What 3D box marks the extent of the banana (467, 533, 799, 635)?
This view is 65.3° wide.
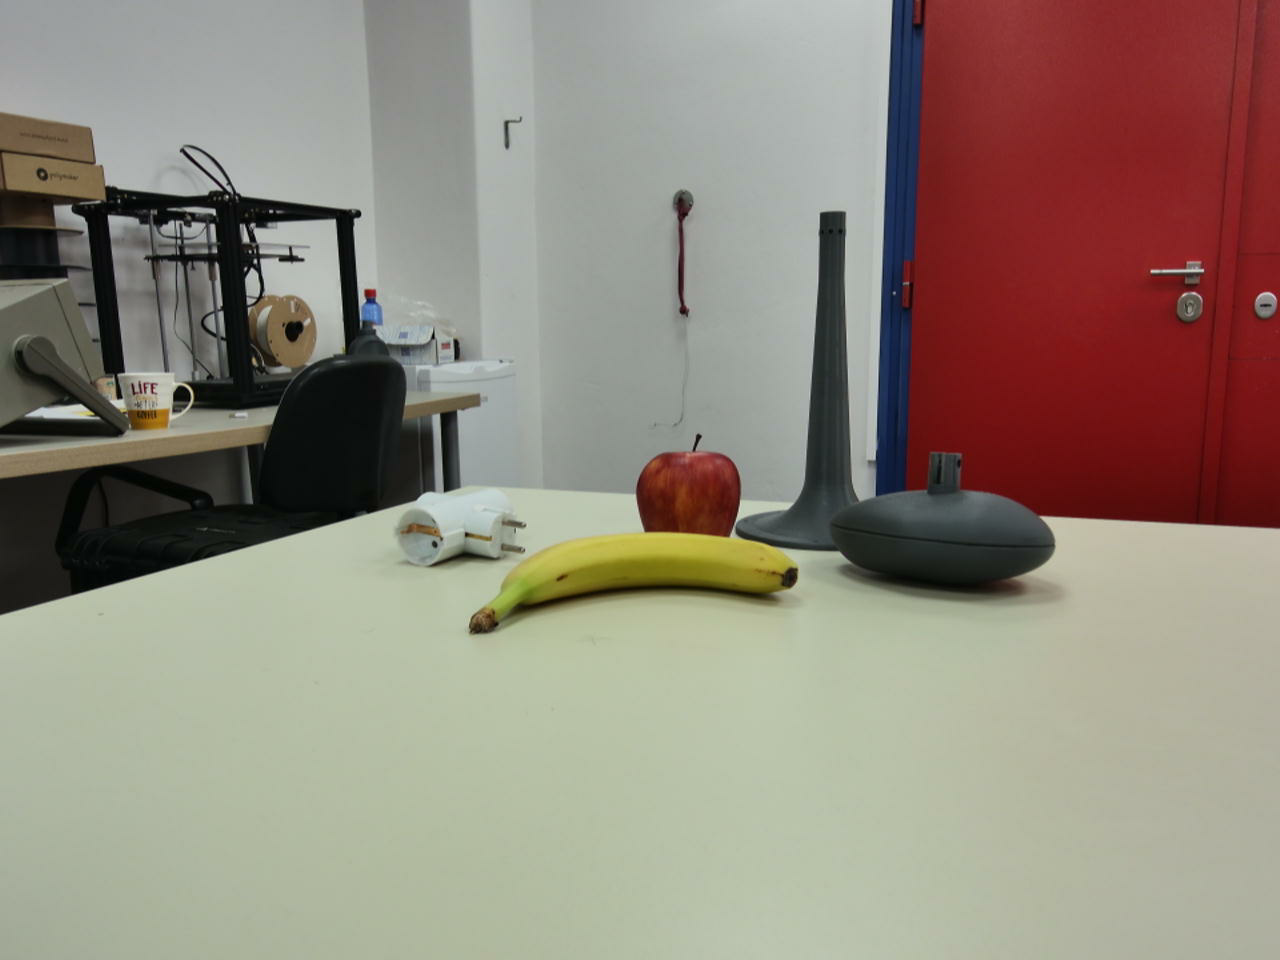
[{"bbox_3d":[-0.009,0.057,0.616,0.196,0.041,0.094,-1,7,-12],"label":"banana"}]
